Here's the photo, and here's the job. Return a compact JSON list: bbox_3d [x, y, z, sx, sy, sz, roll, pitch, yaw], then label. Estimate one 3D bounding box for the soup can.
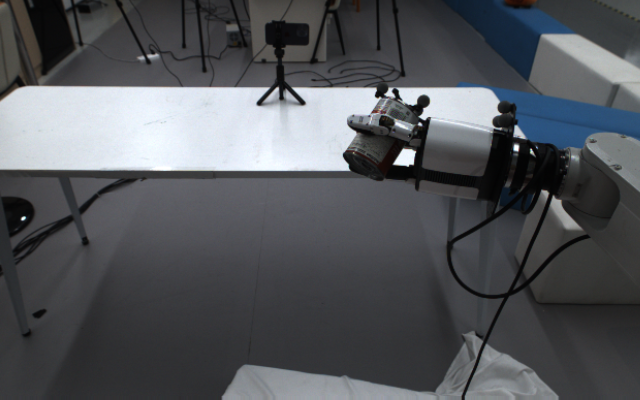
[{"bbox_3d":[0.087,-0.088,0.690,0.067,0.067,0.101,27,78,32],"label":"soup can"}]
